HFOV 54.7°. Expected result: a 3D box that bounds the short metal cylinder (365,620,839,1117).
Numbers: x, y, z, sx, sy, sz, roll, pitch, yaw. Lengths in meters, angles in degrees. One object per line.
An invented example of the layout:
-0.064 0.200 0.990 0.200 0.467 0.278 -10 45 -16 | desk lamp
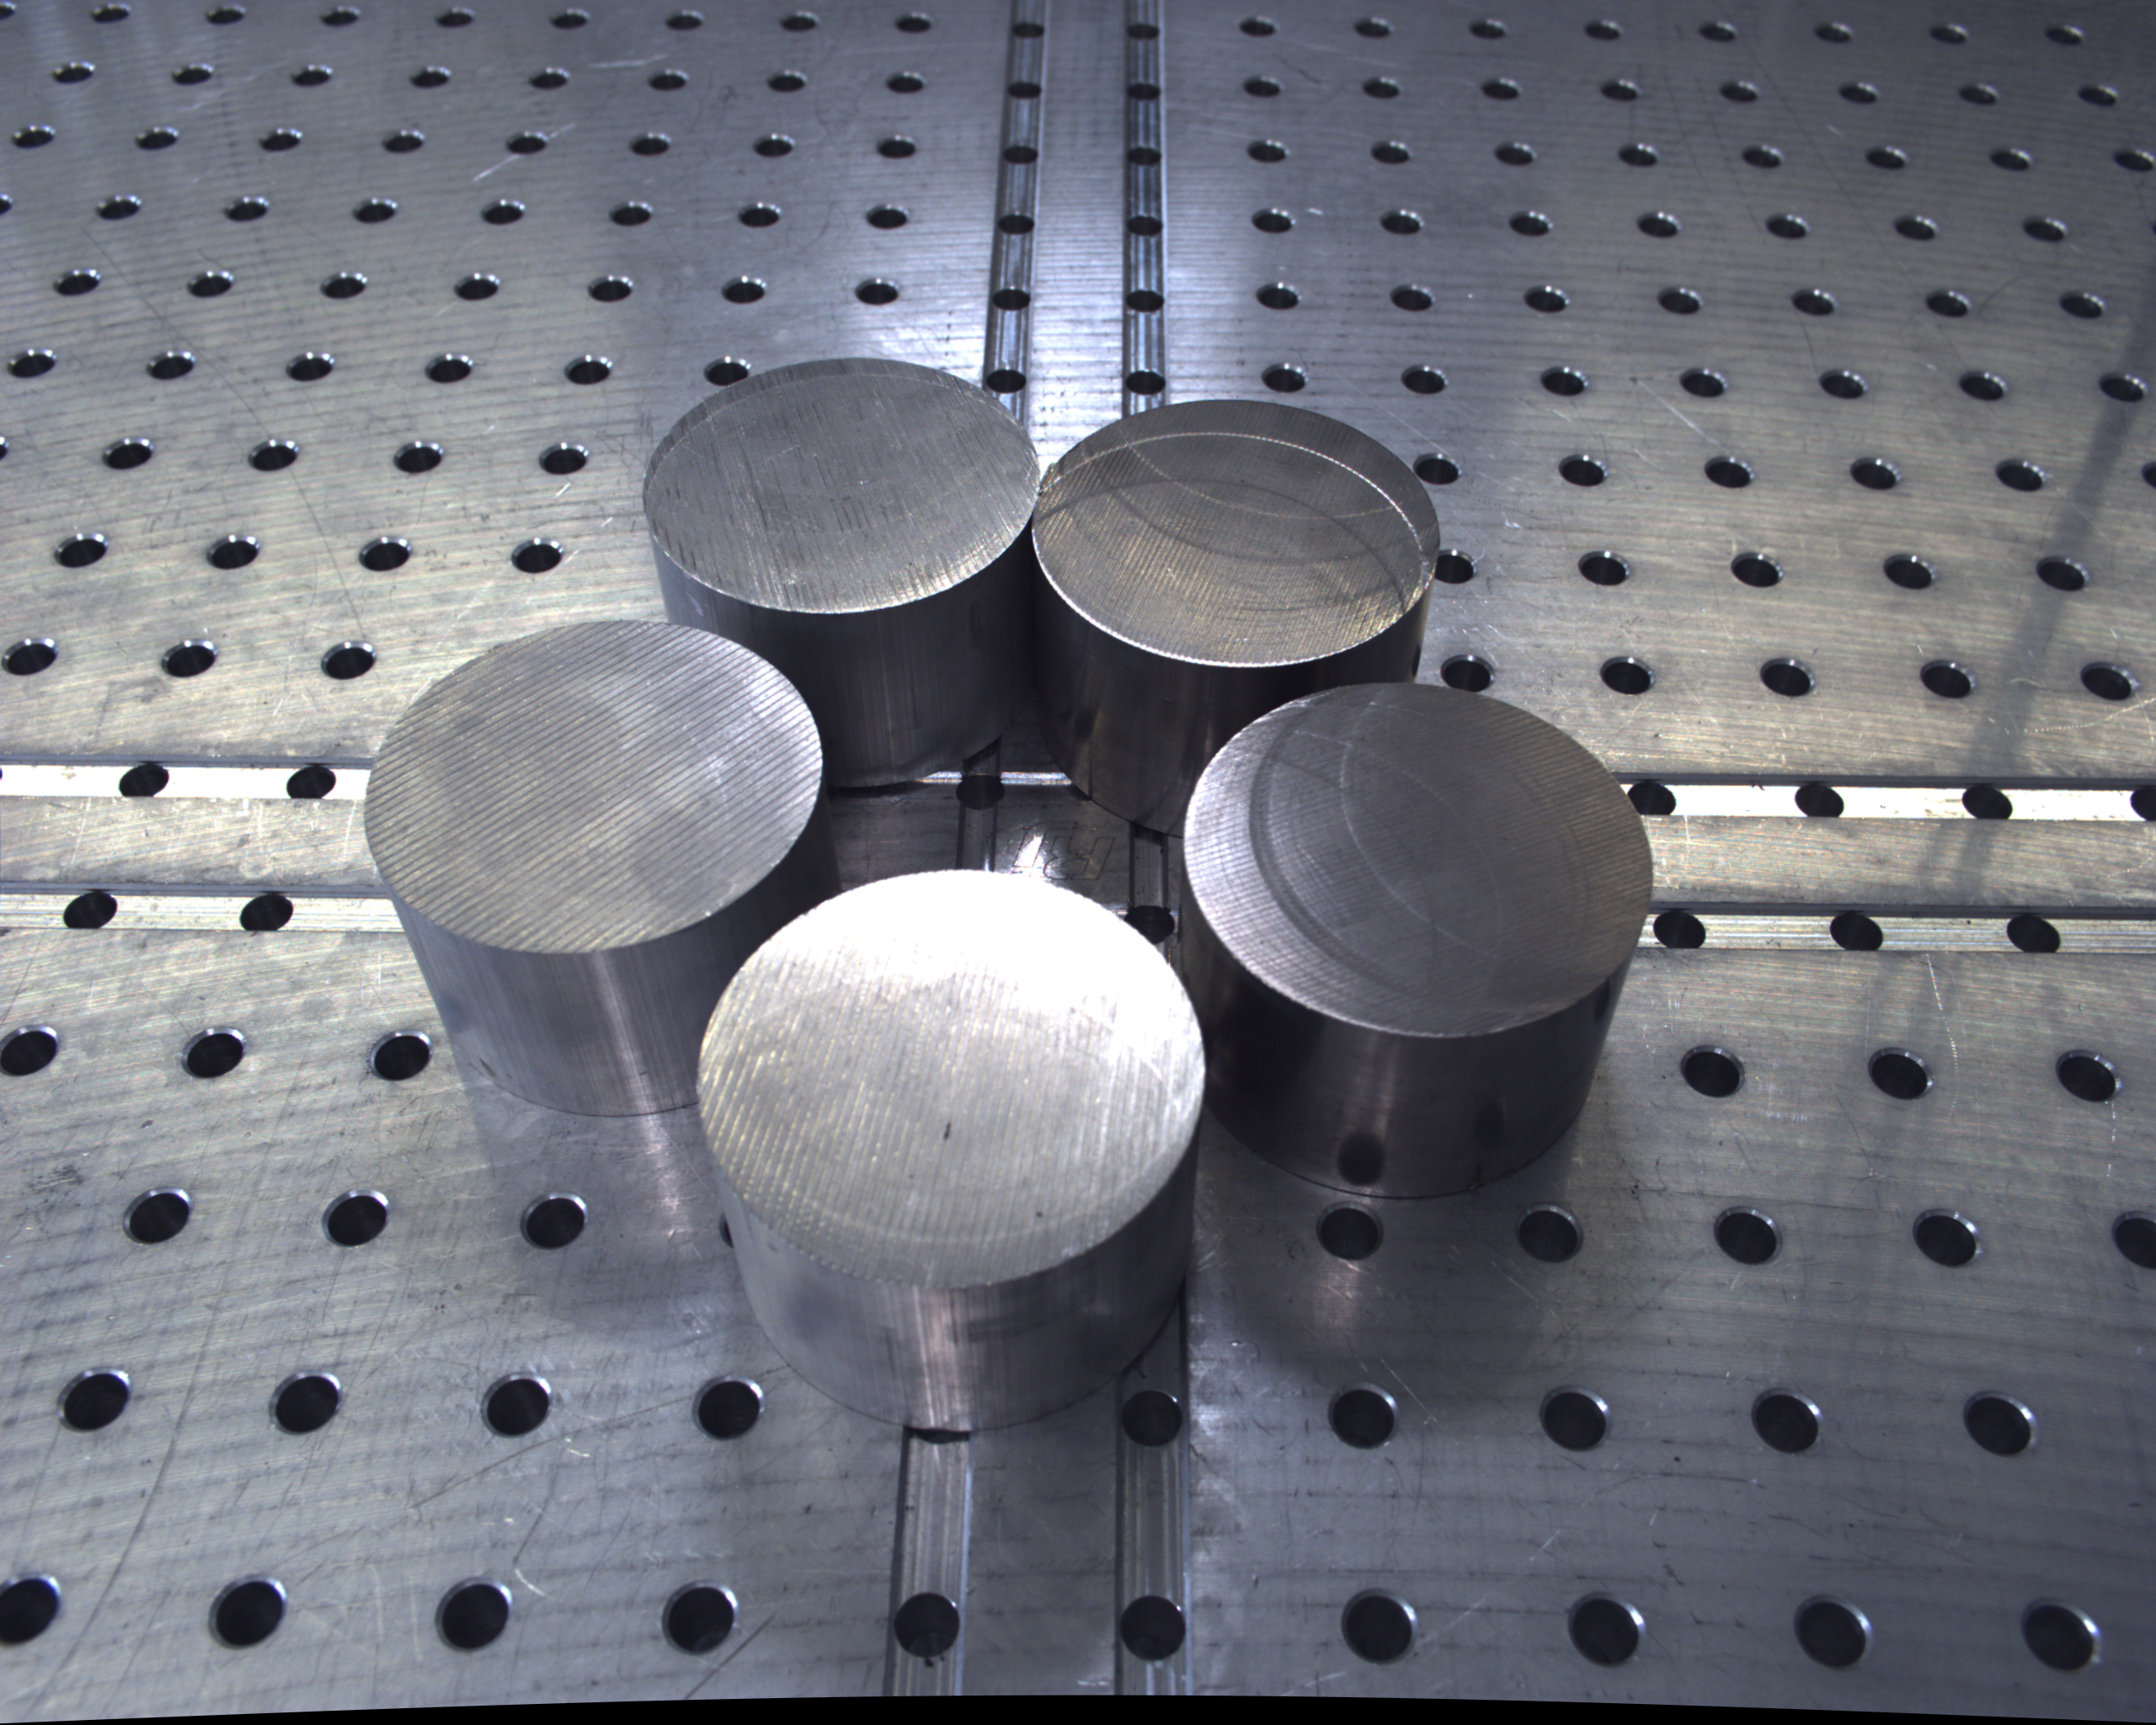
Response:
-0.086 0.000 0.390 0.081 0.050 0.080 0 50 0 | short metal cylinder

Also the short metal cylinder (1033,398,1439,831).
0.031 -0.051 0.433 0.081 0.050 0.080 0 50 0 | short metal cylinder

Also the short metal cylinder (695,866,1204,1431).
-0.020 0.047 0.350 0.080 0.050 0.080 0 50 1 | short metal cylinder

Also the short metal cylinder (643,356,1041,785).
-0.048 -0.063 0.443 0.081 0.050 0.080 0 50 0 | short metal cylinder

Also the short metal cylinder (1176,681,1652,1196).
0.058 0.013 0.379 0.081 0.050 0.080 0 51 0 | short metal cylinder
